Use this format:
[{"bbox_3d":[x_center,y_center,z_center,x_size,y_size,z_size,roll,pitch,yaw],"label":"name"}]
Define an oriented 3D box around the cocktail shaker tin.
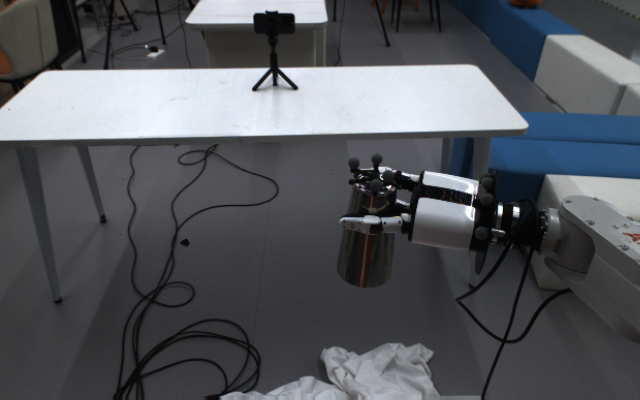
[{"bbox_3d":[0.080,0.041,0.769,0.093,0.170,0.093,2,33,-2],"label":"cocktail shaker tin"}]
